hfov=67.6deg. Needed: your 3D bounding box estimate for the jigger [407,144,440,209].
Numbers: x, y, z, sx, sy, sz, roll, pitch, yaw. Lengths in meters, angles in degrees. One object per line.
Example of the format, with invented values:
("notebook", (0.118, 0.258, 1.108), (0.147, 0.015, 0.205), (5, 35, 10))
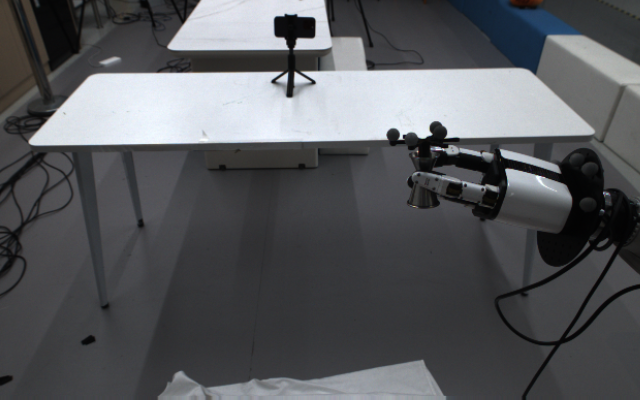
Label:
("jigger", (0.137, -0.028, 0.642), (0.043, 0.071, 0.043), (-2, 19, 1))
